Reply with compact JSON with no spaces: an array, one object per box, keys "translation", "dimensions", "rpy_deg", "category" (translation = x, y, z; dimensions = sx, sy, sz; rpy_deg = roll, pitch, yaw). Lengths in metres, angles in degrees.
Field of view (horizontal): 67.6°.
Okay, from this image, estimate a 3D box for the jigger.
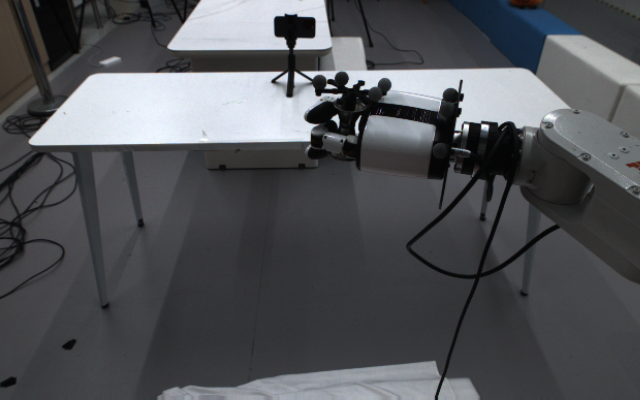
[{"translation":[0.035,-0.092,0.625],"dimensions":[0.043,0.071,0.043],"rpy_deg":[4,31,-2],"category":"jigger"}]
